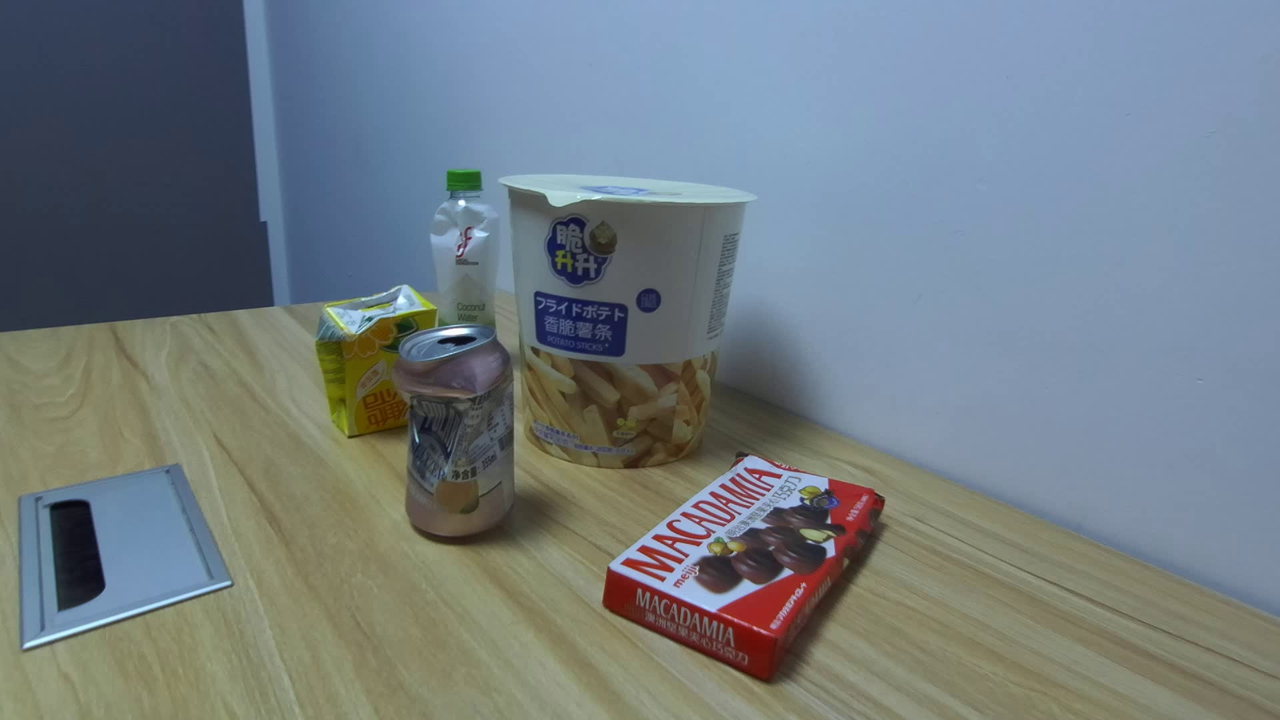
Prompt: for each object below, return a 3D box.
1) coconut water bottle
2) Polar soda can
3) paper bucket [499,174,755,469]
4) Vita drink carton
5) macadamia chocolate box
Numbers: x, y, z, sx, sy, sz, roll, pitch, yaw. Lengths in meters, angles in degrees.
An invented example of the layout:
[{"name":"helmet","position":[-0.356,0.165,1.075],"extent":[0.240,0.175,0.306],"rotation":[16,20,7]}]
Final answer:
[{"name":"coconut water bottle","position":[-0.163,-0.079,0.663],"extent":[0.069,0.186,0.069],"rotation":[1,11,0]},{"name":"Polar soda can","position":[-0.113,0.043,0.419],"extent":[0.071,0.122,0.066],"rotation":[5,23,8]},{"name":"paper bucket","position":[-0.013,-0.036,0.549],"extent":[0.198,0.194,0.198],"rotation":[3,18,-1]},{"name":"Vita drink carton","position":[-0.197,0.004,0.536],"extent":[0.087,0.108,0.042],"rotation":[-13,36,-34]},{"name":"macadamia chocolate box","position":[0.069,0.104,0.408],"extent":[0.105,0.028,0.184],"rotation":[14,20,29]}]
